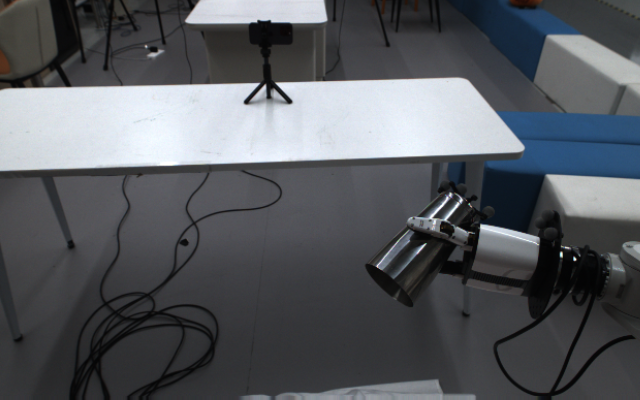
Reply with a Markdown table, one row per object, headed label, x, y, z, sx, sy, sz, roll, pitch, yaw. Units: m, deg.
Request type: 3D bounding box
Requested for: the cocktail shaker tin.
| label | x | y | z | sx | sy | sz | roll | pitch | yaw |
| --- | --- | --- | --- | --- | --- | --- | --- | --- | --- |
| cocktail shaker tin | 0.158 | 0.062 | 0.732 | 0.170 | 0.093 | 0.093 | -43 | 50 | -14 |
